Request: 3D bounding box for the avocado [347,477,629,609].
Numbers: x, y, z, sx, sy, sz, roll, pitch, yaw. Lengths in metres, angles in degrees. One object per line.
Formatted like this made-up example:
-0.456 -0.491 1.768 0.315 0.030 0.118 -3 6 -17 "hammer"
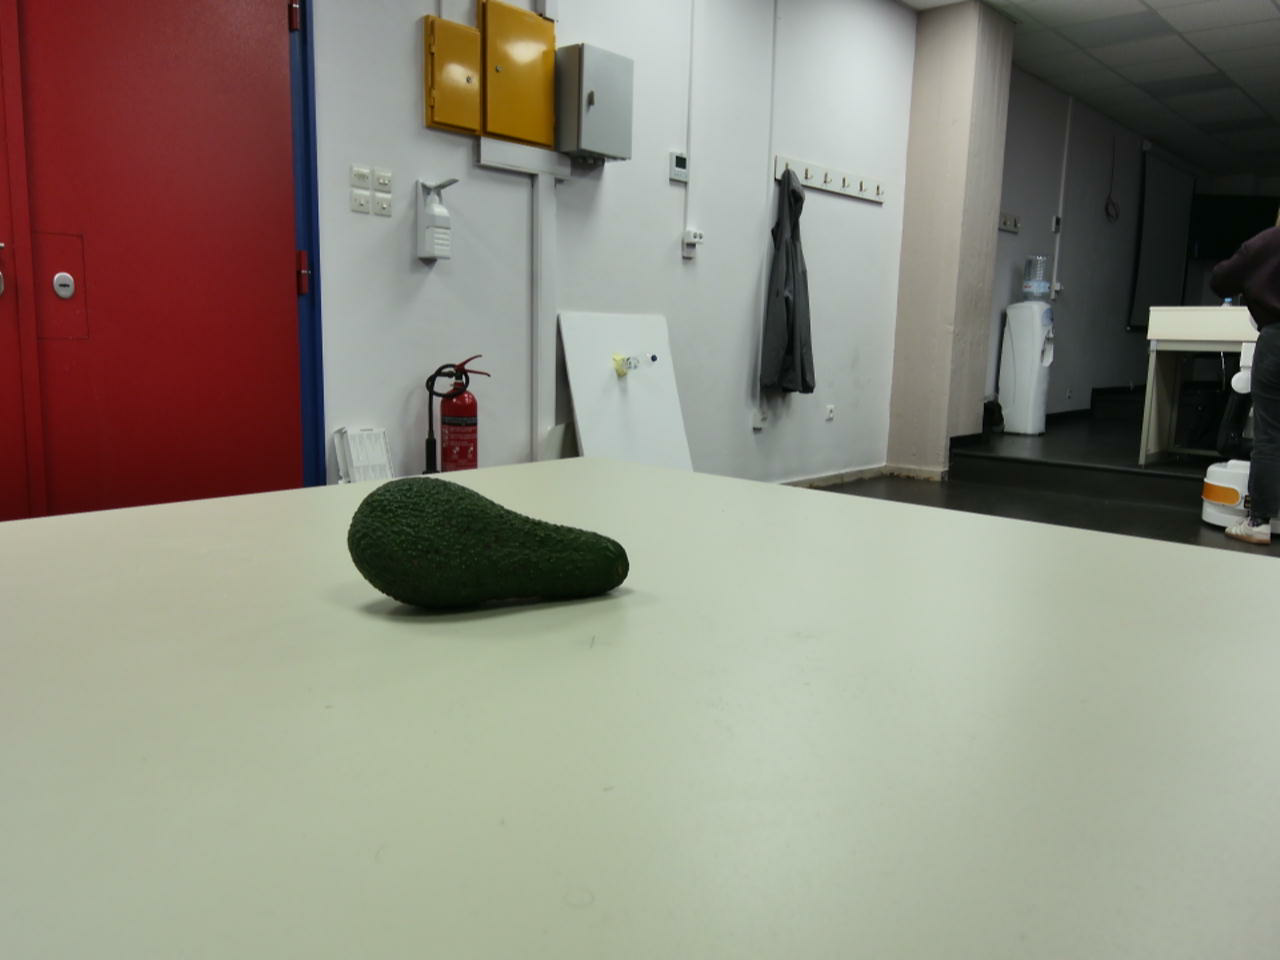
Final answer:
-0.076 0.029 0.507 0.141 0.067 0.063 -4 8 -34 "avocado"
